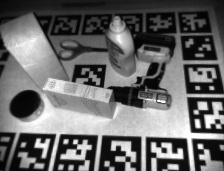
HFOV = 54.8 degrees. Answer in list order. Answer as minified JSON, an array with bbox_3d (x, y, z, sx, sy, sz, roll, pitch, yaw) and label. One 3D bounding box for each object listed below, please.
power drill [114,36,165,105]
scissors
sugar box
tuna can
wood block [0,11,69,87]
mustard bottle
[{"bbox_3d":[0.068,-0.046,0.613,0.183,0.058,0.187,13,72,13],"label":"power drill"},{"bbox_3d":[-0.106,-0.138,0.701,0.202,0.016,0.087,2,59,7],"label":"scissors"},{"bbox_3d":[-0.081,0.023,0.575,0.175,0.093,0.045,12,62,10],"label":"sugar box"},{"bbox_3d":[-0.243,0.040,0.611,0.085,0.034,0.085,-2,64,4],"label":"tuna can"},{"bbox_3d":[-0.203,-0.089,0.590,0.091,0.208,0.089,-25,63,-6],"label":"wood block"},{"bbox_3d":[0.018,-0.118,0.589,0.058,0.193,0.095,-36,65,-10],"label":"mustard bottle"}]
